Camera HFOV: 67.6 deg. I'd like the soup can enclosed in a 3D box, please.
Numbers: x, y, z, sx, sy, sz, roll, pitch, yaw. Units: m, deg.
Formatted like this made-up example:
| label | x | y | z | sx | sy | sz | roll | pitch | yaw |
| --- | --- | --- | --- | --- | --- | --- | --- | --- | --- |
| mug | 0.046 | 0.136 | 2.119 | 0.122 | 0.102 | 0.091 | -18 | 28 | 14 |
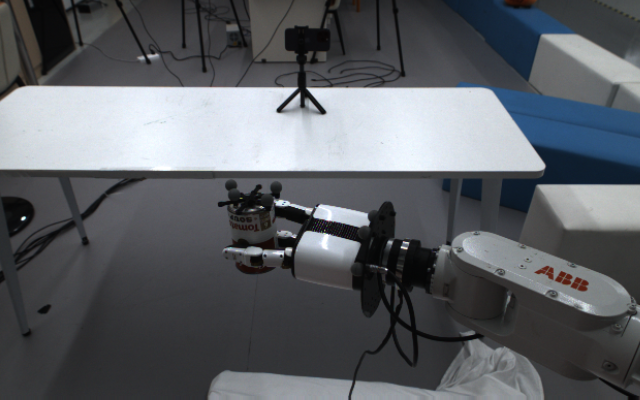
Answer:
| label | x | y | z | sx | sy | sz | roll | pitch | yaw |
| --- | --- | --- | --- | --- | --- | --- | --- | --- | --- |
| soup can | -0.095 | 0.049 | 0.708 | 0.067 | 0.101 | 0.067 | -3 | 27 | 2 |
